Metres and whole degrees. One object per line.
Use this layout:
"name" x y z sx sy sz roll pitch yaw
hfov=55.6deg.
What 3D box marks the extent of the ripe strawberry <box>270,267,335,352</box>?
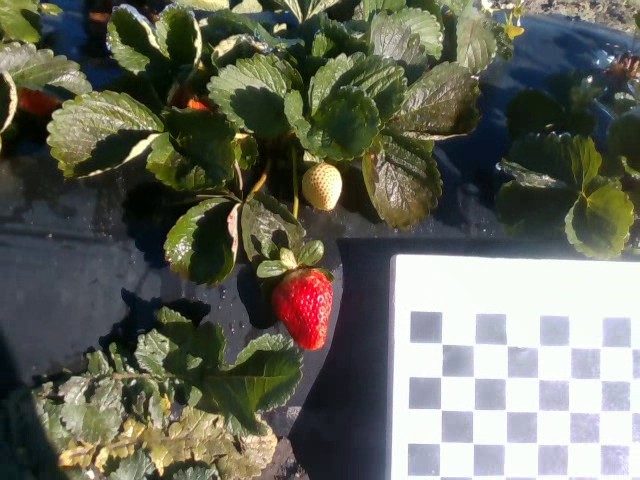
"ripe strawberry" -0.011 0.053 0.428 0.048 0.068 0.040 -16 -8 -5
